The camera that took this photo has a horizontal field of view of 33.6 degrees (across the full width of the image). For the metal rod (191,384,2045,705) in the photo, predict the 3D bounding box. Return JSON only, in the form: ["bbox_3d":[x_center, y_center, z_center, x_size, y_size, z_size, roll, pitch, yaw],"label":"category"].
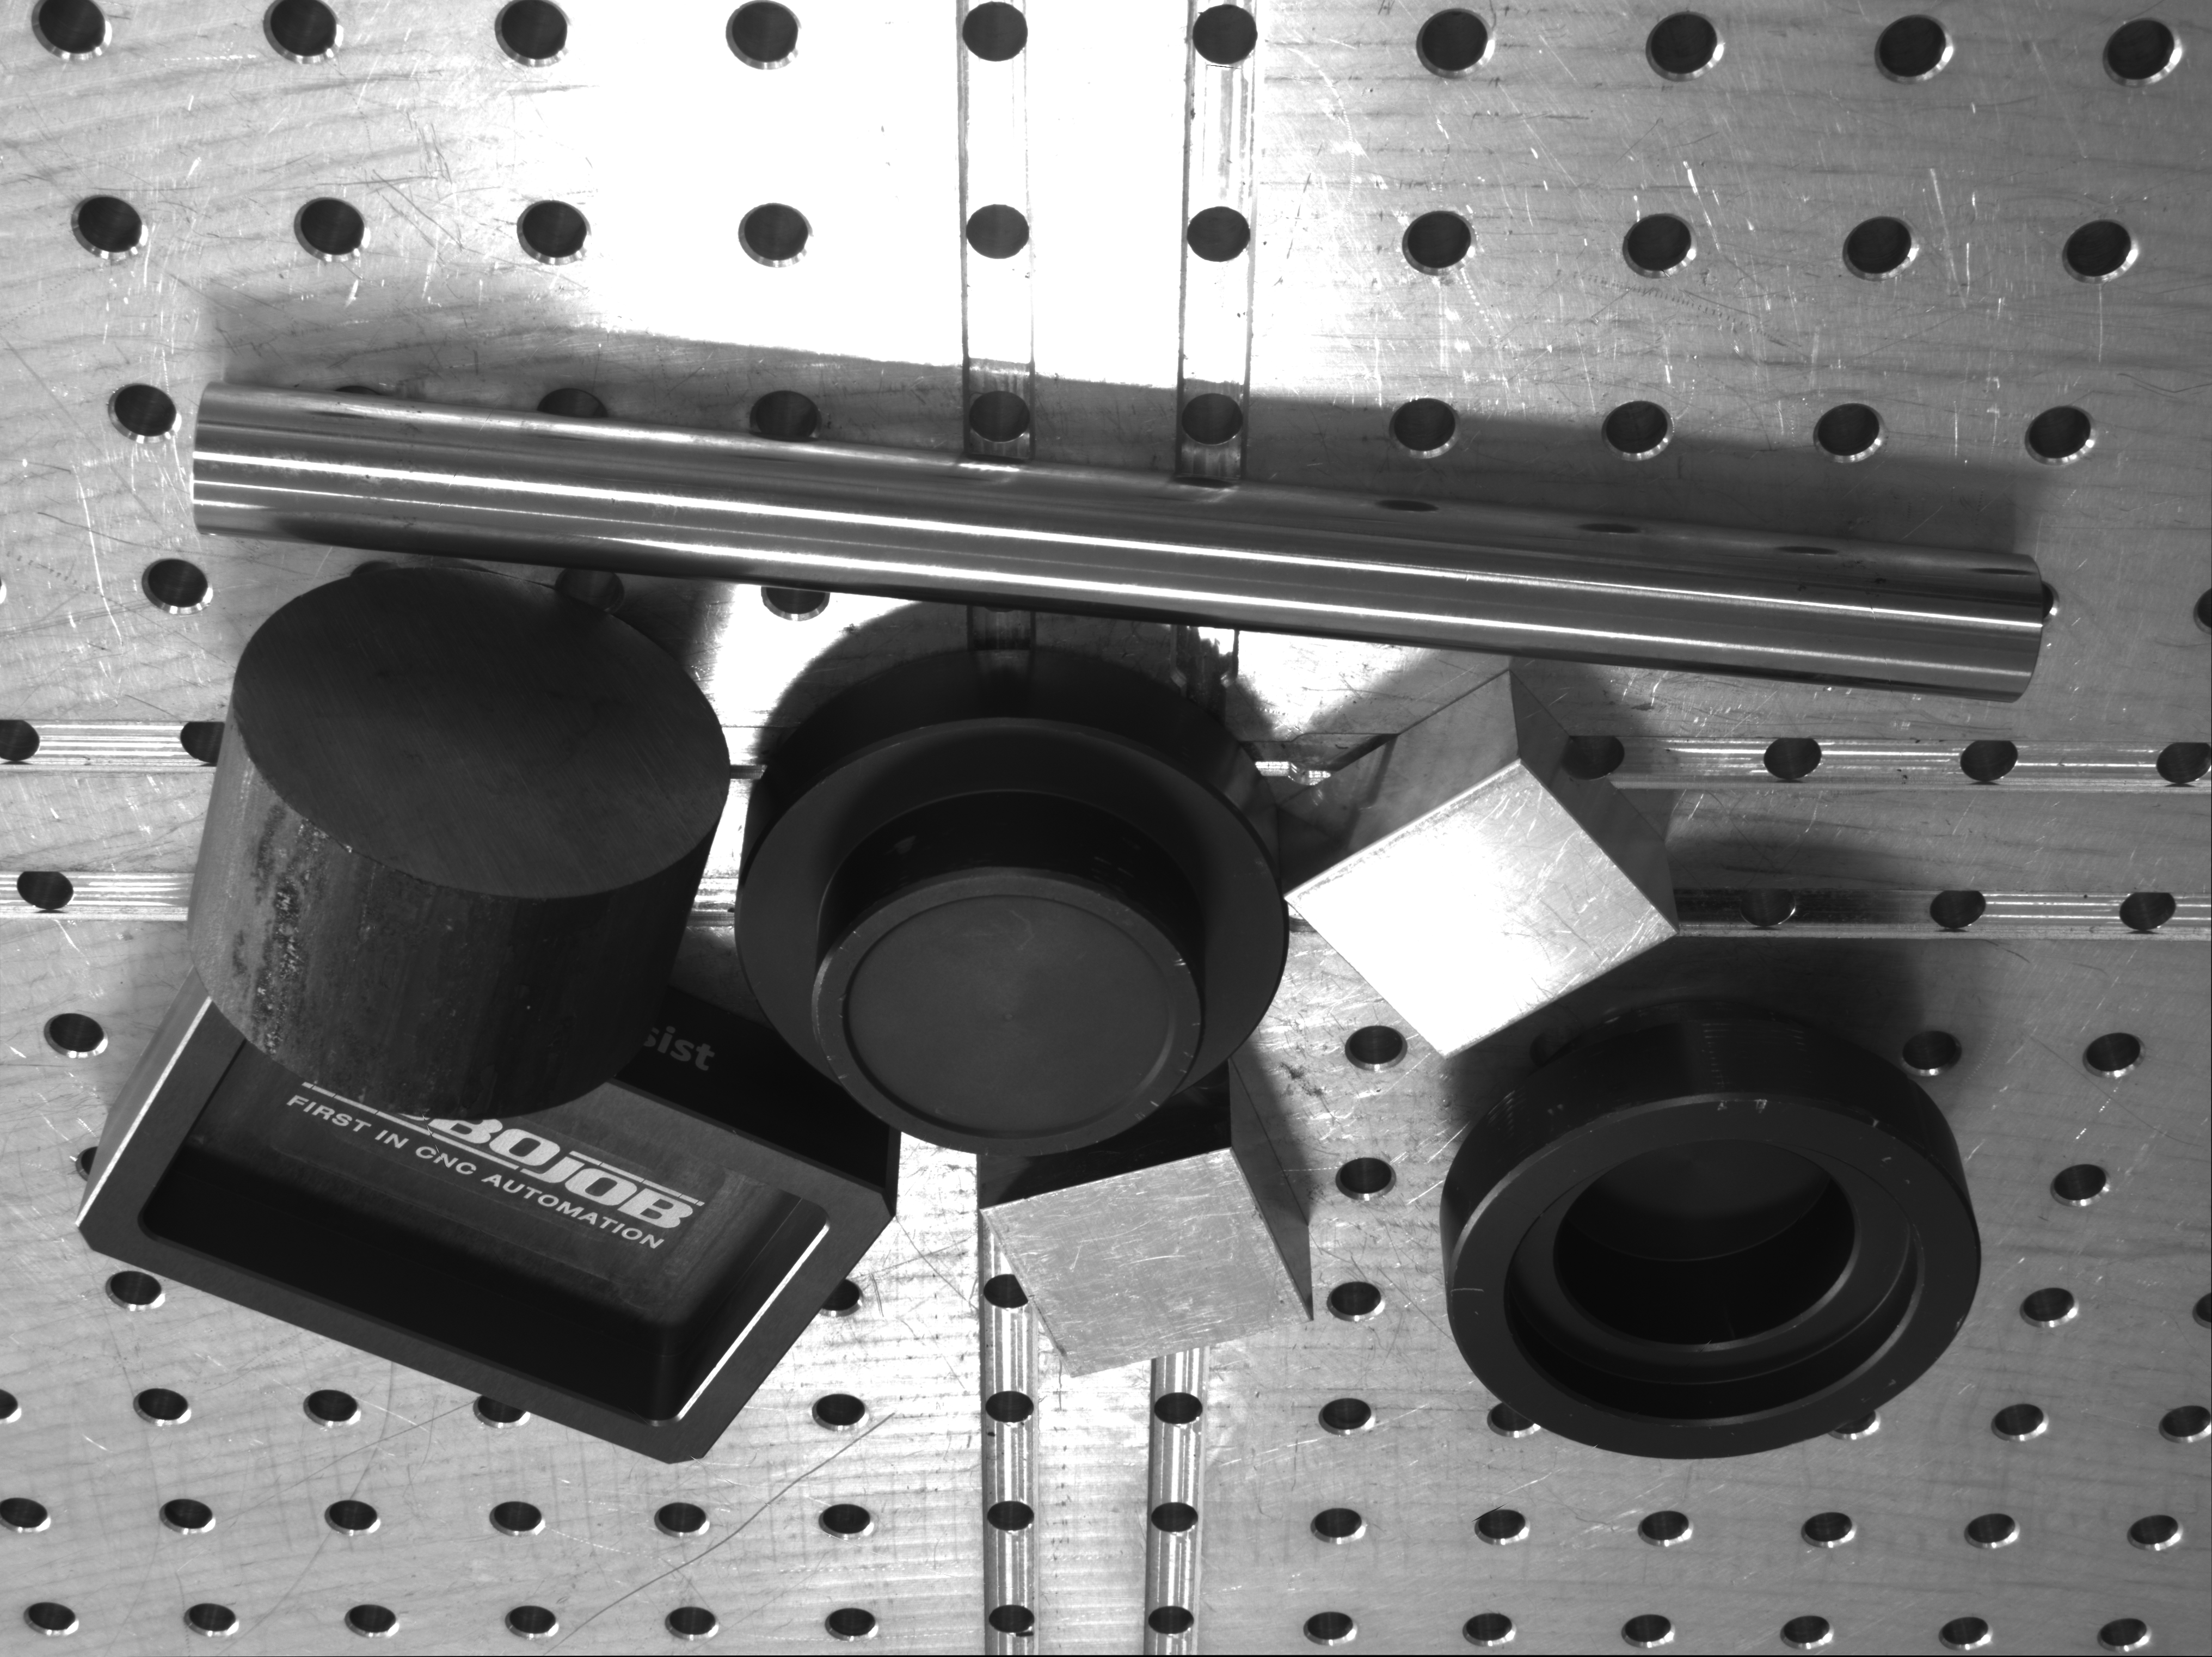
[{"bbox_3d":[0.004,-0.046,0.603,0.300,0.025,0.025,5,130,-4],"label":"metal rod"}]

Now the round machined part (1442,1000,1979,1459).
[{"bbox_3d":[0.112,0.071,0.691,0.098,0.042,0.098,0,130,0],"label":"round machined part"}]

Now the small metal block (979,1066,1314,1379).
[{"bbox_3d":[0.008,0.075,0.705,0.050,0.025,0.050,-15,128,12],"label":"small metal block"}]

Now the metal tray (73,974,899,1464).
[{"bbox_3d":[-0.116,0.063,0.691,0.130,0.030,0.090,25,126,-19],"label":"metal tray"}]

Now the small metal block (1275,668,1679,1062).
[{"bbox_3d":[0.065,0.007,0.649,0.050,0.025,0.050,-31,123,23],"label":"small metal block"}]

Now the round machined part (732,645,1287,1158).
[{"bbox_3d":[-0.017,0.019,0.647,0.098,0.042,0.098,0,127,0],"label":"round machined part"}]

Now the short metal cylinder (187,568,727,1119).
[{"bbox_3d":[-0.108,0.002,0.607,0.080,0.080,0.050,14,128,-11],"label":"short metal cylinder"}]
